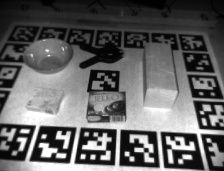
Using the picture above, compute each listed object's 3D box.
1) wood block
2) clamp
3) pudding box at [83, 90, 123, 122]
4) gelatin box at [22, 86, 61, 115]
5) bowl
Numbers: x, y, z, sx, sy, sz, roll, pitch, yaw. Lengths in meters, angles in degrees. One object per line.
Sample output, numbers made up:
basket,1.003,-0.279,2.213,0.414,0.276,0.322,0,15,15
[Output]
wood block,0.142,-0.039,0.688,0.090,0.091,0.205,6,53,2
clamp,-0.059,-0.114,0.782,0.166,0.037,0.121,-4,52,-8
pudding box,-0.023,0.061,0.638,0.114,0.039,0.089,1,56,2
gelatin box,-0.209,0.043,0.647,0.089,0.030,0.073,10,54,5
bowl,-0.223,-0.096,0.747,0.162,0.055,0.161,2,55,-2
